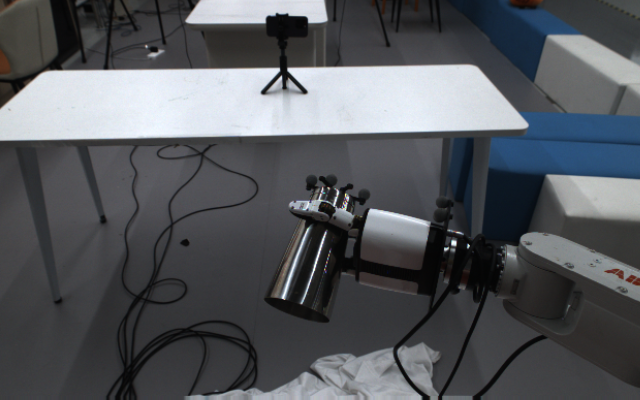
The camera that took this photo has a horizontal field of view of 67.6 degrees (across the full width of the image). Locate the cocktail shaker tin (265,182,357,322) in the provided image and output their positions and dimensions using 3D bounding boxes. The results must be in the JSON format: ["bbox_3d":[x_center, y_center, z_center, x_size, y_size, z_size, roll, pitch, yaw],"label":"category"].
[{"bbox_3d":[-0.003,0.067,0.664,0.093,0.093,0.170,12,65,15],"label":"cocktail shaker tin"}]
